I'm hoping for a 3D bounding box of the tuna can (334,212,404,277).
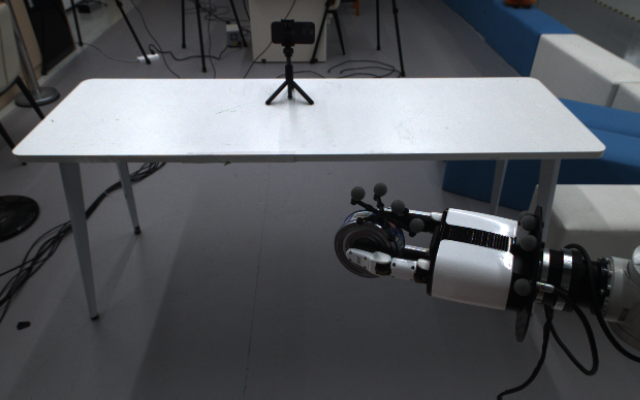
[{"bbox_3d":[0.066,0.063,0.612,0.085,0.085,0.034,15,31,18],"label":"tuna can"}]
